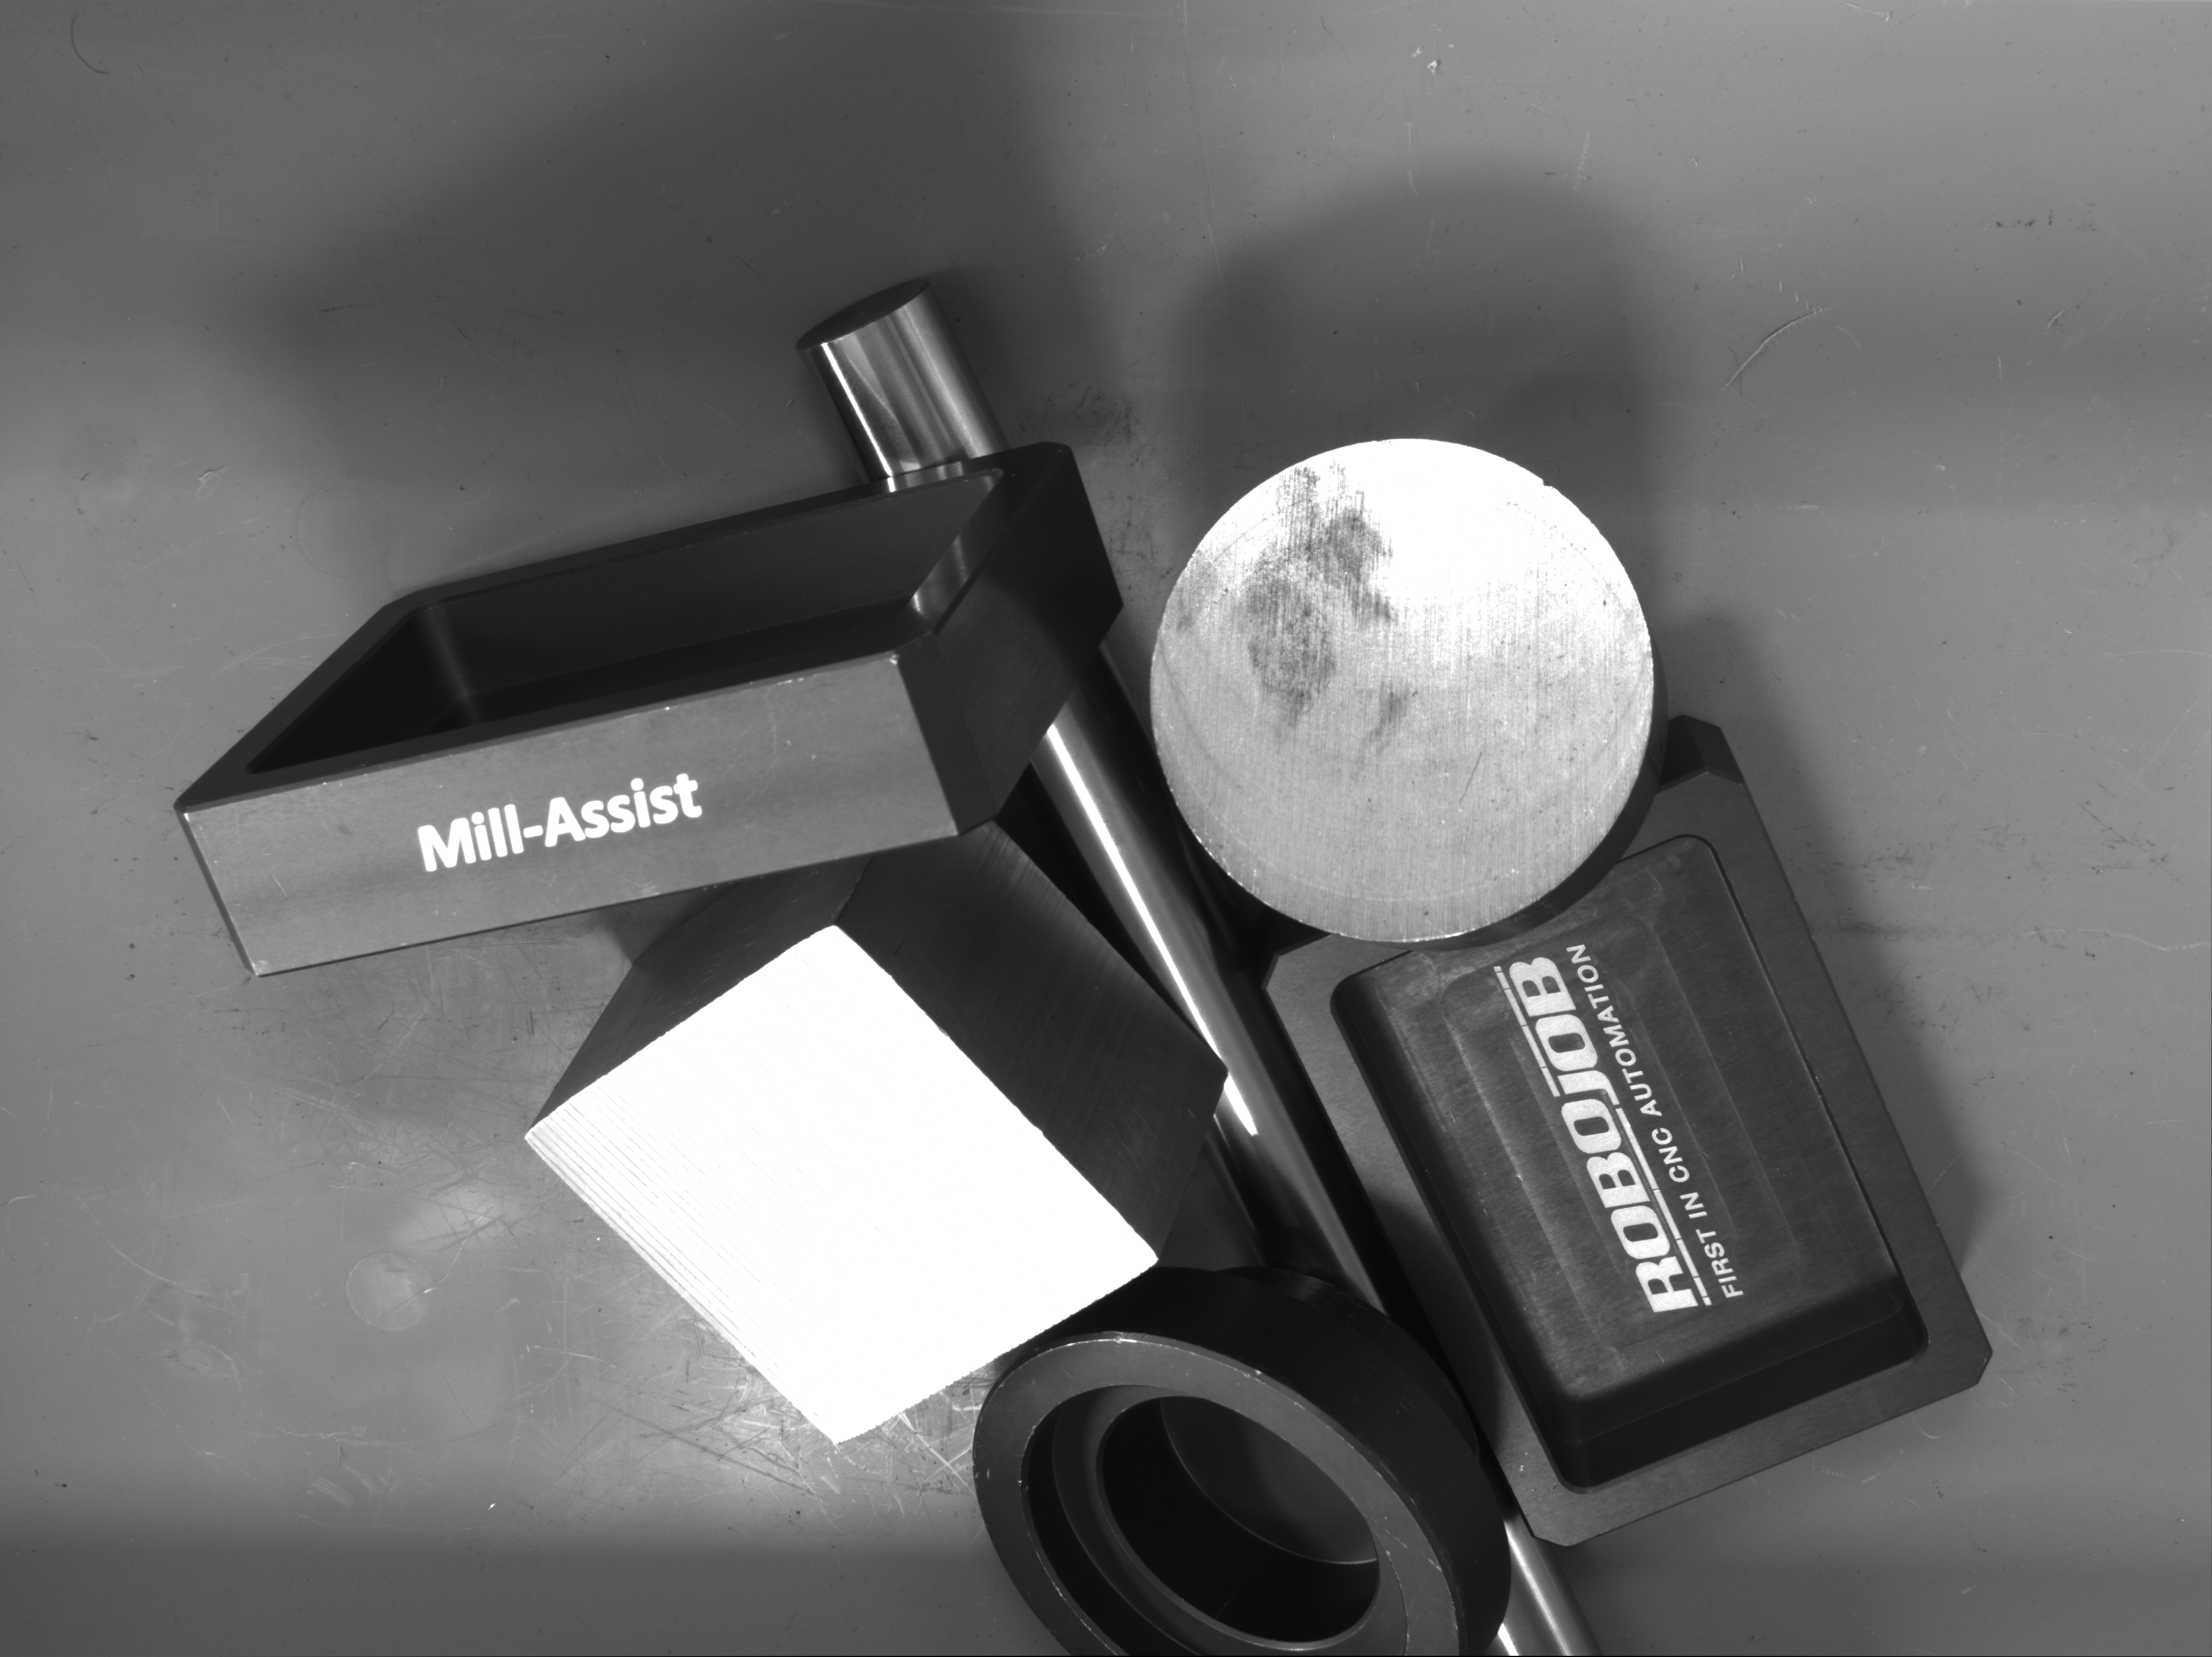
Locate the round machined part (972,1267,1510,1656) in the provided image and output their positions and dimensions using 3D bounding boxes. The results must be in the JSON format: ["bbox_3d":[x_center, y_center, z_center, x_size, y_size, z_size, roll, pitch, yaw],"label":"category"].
[{"bbox_3d":[0.028,0.119,0.662,0.098,0.042,0.098,17,129,23],"label":"round machined part"}]

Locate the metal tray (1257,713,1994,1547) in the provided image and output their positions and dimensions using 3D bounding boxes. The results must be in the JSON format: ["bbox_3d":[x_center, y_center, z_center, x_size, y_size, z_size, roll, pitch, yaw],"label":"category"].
[{"bbox_3d":[0.093,0.056,0.661,0.090,0.030,0.130,-24,108,8],"label":"metal tray"}]

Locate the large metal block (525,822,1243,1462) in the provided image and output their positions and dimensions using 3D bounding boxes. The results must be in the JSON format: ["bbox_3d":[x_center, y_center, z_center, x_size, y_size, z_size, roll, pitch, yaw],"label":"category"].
[{"bbox_3d":[-0.037,0.050,0.628,0.080,0.050,0.080,-35,107,30],"label":"large metal block"}]

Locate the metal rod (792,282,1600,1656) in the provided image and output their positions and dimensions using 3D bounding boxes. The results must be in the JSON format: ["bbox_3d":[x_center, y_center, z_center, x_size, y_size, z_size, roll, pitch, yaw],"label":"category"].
[{"bbox_3d":[0.023,0.043,0.658,0.025,0.025,0.300,-24,108,8],"label":"metal rod"}]

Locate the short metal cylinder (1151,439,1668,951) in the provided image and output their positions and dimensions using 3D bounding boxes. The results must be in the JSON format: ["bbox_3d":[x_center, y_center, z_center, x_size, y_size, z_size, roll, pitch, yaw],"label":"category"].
[{"bbox_3d":[0.051,-0.020,0.606,0.080,0.050,0.080,-1,86,11],"label":"short metal cylinder"}]

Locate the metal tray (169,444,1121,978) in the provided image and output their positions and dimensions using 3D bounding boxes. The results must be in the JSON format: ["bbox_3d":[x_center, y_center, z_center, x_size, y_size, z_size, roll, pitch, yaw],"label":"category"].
[{"bbox_3d":[-0.071,-0.020,0.586,0.130,0.090,0.030,-11,112,19],"label":"metal tray"}]
